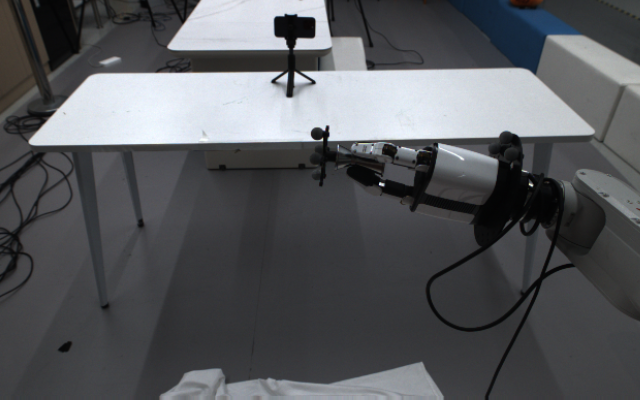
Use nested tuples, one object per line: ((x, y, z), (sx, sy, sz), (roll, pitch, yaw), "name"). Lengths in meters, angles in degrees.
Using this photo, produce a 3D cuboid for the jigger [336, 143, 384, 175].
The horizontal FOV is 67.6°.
((0.064, -0.063, 0.686), (0.071, 0.043, 0.043), (4, 35, 2), "jigger")
